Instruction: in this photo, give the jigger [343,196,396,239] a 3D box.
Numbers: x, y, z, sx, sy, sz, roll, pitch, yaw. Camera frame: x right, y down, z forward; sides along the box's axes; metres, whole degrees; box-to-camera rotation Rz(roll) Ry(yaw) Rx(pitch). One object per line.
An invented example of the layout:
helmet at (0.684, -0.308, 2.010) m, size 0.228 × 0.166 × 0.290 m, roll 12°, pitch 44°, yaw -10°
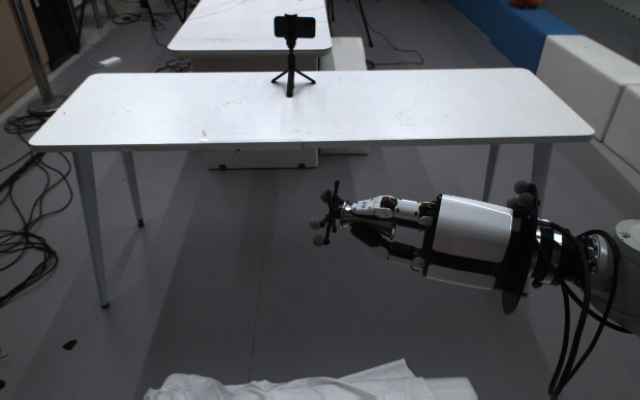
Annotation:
jigger at (0.071, 0.020, 0.629) m, size 0.071 × 0.043 × 0.043 m, roll 9°, pitch 35°, yaw 16°
